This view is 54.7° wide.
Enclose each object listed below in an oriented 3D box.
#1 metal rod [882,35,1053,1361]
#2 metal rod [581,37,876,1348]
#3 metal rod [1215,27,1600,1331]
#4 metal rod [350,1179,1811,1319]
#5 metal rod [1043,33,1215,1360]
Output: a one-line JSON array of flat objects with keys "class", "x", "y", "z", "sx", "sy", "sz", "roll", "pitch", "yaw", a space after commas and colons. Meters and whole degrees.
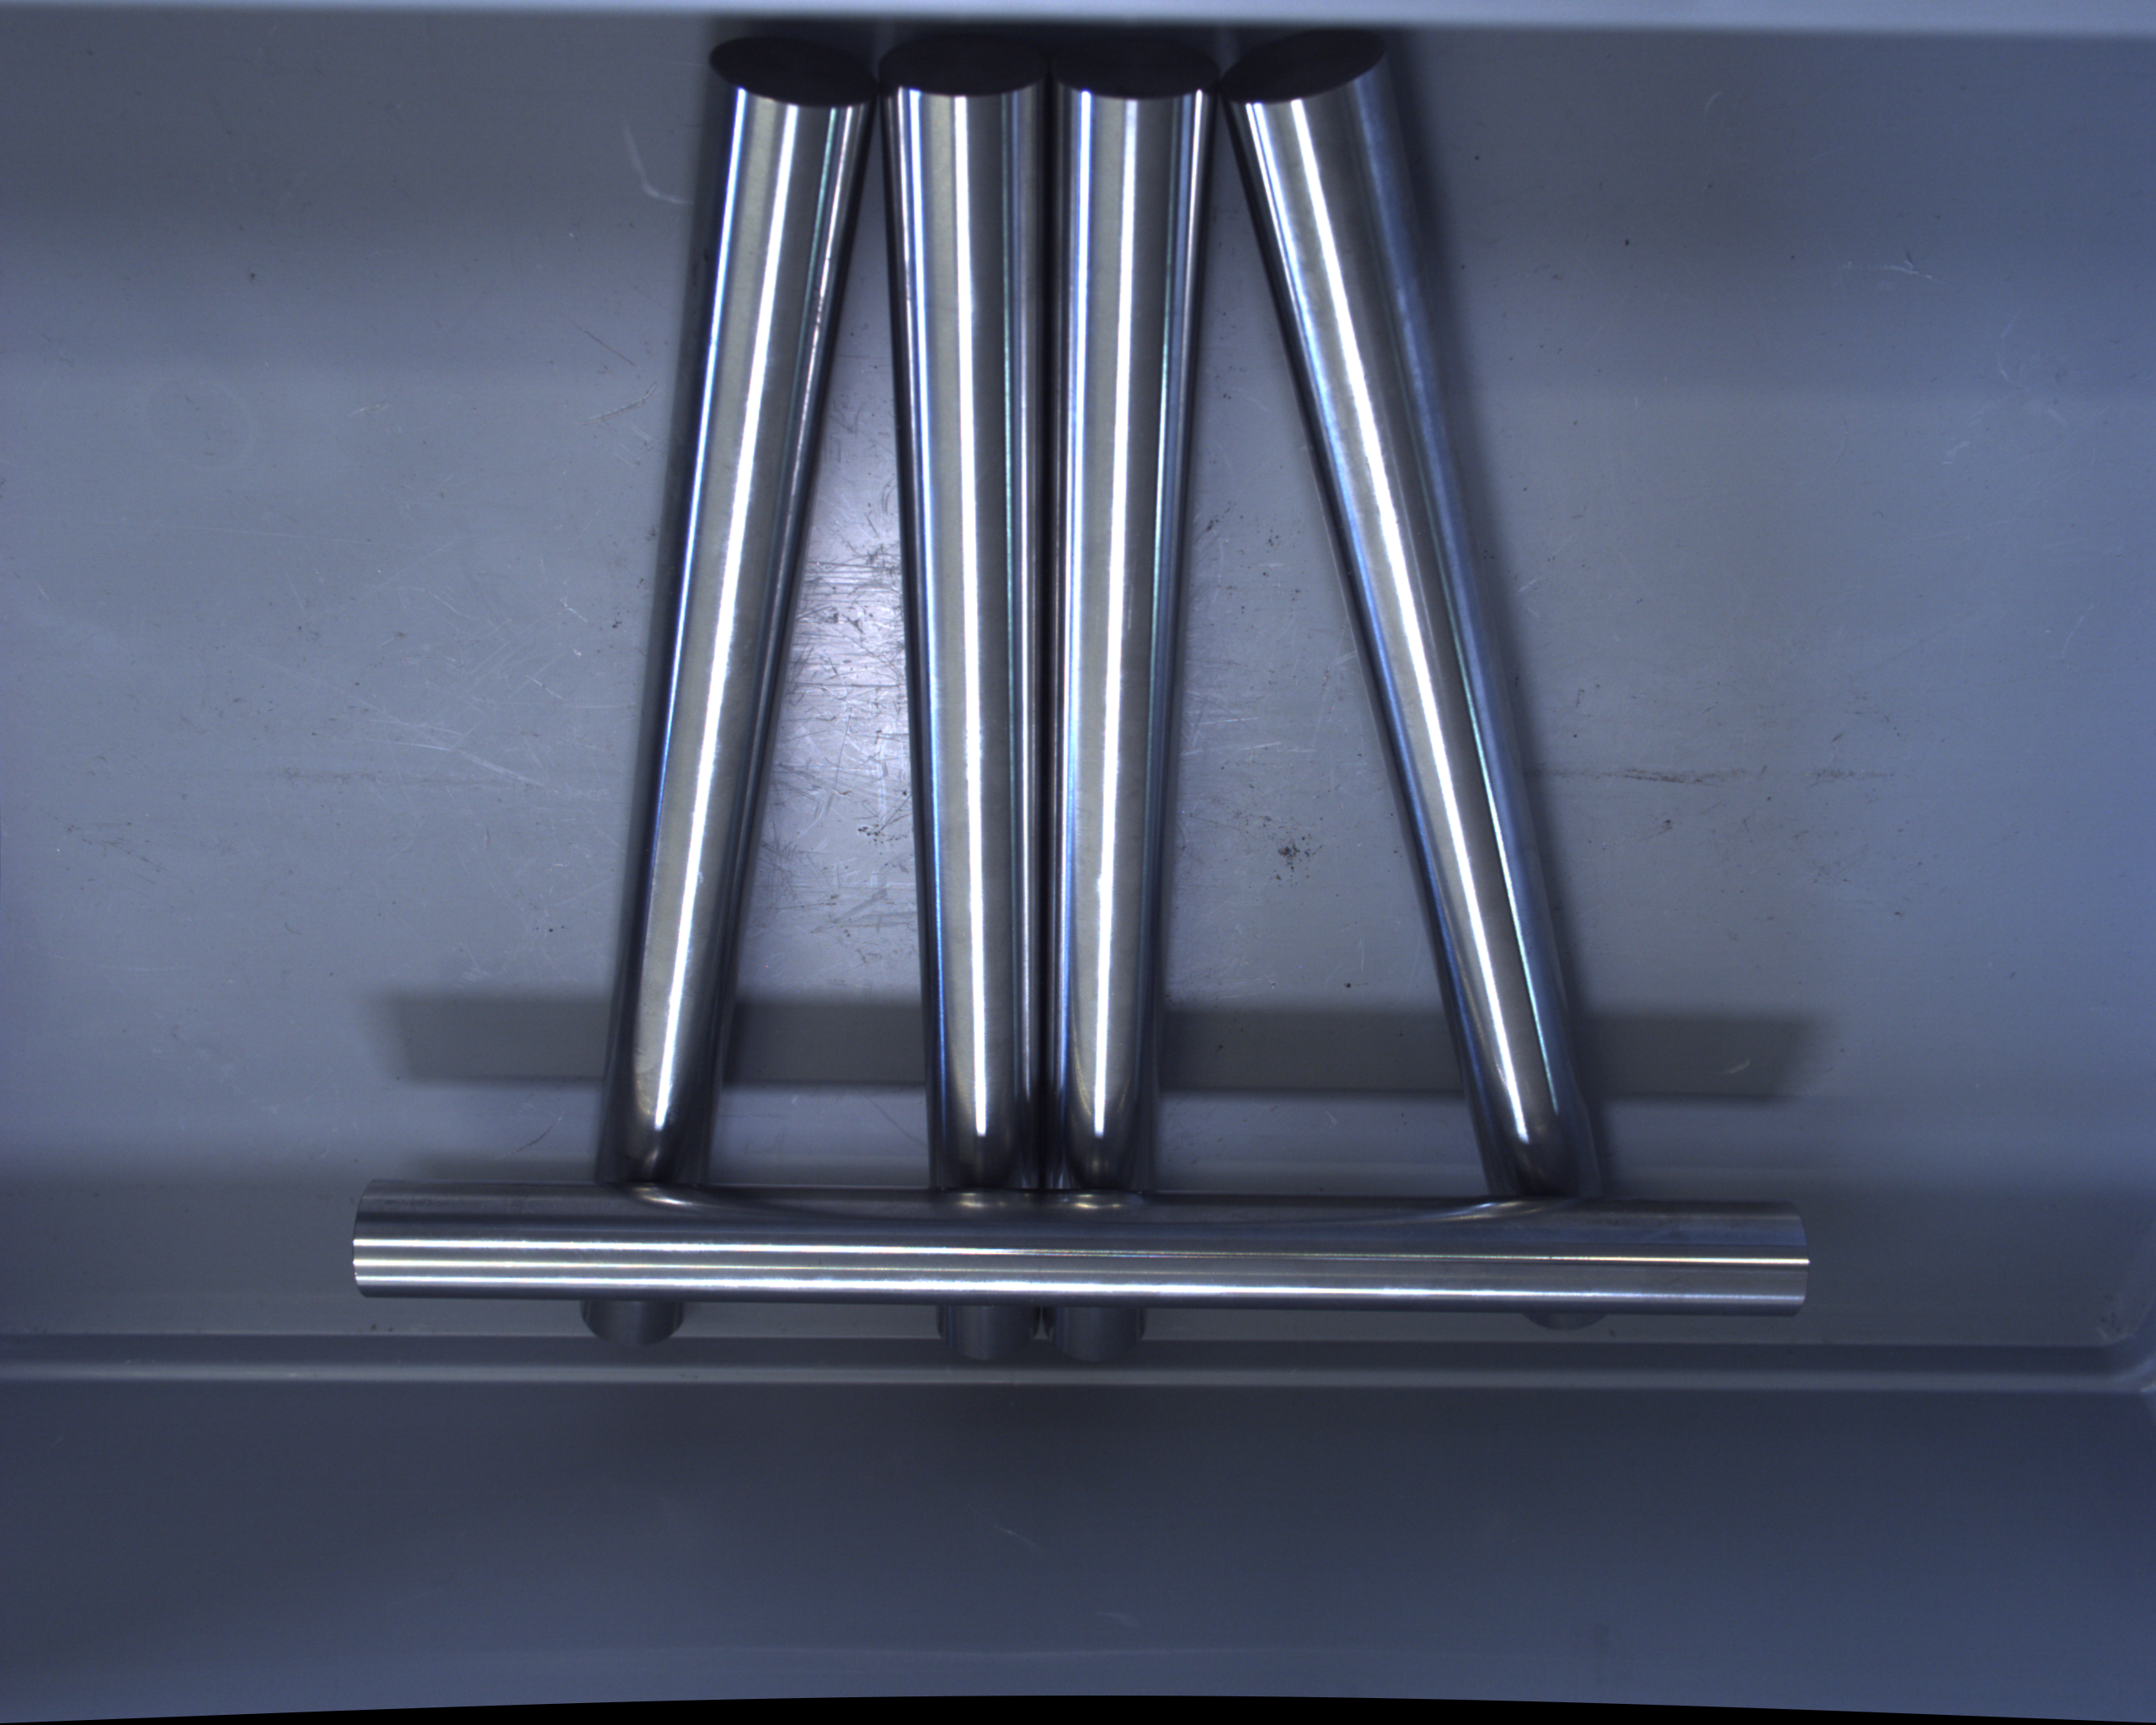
[{"class": "metal rod", "x": -0.019, "y": -0.004, "z": 0.404, "sx": 0.025, "sy": 0.025, "sz": 0.298, "roll": 1, "pitch": 130, "yaw": -1}, {"class": "metal rod", "x": -0.074, "y": -0.006, "z": 0.402, "sx": 0.025, "sy": 0.025, "sz": 0.298, "roll": 9, "pitch": 130, "yaw": -8}, {"class": "metal rod", "x": 0.074, "y": -0.009, "z": 0.401, "sx": 0.025, "sy": 0.025, "sz": 0.299, "roll": -12, "pitch": 129, "yaw": 10}, {"class": "metal rod", "x": 0.001, "y": 0.082, "z": 0.443, "sx": 0.302, "sy": 0.025, "sz": 0.025, "roll": 1, "pitch": 130, "yaw": -1}, {"class": "metal rod", "x": 0.006, "y": -0.004, "z": 0.404, "sx": 0.025, "sy": 0.025, "sz": 0.298, "roll": 0, "pitch": 130, "yaw": -1}]
